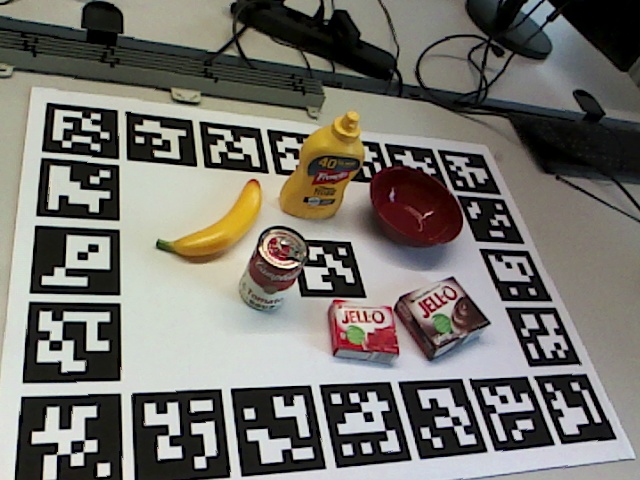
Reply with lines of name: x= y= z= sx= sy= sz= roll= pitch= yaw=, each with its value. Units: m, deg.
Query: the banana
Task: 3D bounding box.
banana: x=-0.137 y=-0.035 z=0.885 sx=0.074 sy=0.039 sz=0.197 roll=28 pitch=46 yaw=14

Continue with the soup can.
soup can: x=-0.064 y=0.032 z=0.806 sx=0.067 sy=0.102 sz=0.068 roll=14 pitch=46 yaw=-15

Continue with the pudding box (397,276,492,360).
pudding box: x=0.181 y=0.112 z=0.903 sx=0.113 sy=0.039 sz=0.090 roll=-20 pitch=68 yaw=-35

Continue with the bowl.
bowl: x=0.153 y=-0.041 z=1.012 sx=0.161 sy=0.055 sz=0.162 roll=11 pitch=48 yaw=-13

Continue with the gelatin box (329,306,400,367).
gelatin box: x=0.059 y=0.130 z=0.840 sx=0.089 sy=0.030 sz=0.073 roll=8 pitch=53 yaw=-17

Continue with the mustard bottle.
mustard bottle: x=0.019 y=-0.113 z=0.900 sx=0.096 sy=0.191 sz=0.059 roll=3 pitch=49 yaw=-22
